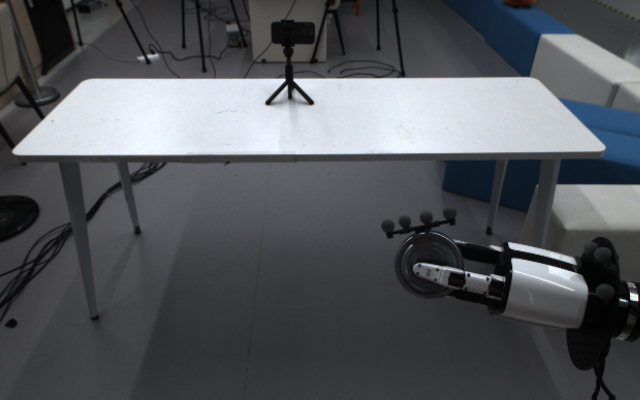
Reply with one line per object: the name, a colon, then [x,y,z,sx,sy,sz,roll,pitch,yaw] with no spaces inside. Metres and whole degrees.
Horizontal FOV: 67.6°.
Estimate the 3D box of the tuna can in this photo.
tuna can: [0.142,0.079,0.616,0.085,0.085,0.034,12,3,14]
